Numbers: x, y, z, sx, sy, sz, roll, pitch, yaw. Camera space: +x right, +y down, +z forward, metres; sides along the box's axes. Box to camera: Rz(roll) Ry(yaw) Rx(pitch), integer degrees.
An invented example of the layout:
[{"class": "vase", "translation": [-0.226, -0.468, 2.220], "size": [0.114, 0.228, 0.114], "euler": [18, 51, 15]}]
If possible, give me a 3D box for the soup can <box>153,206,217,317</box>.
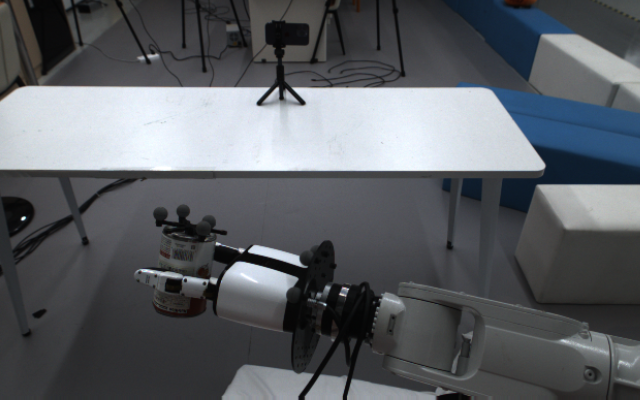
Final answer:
[{"class": "soup can", "translation": [-0.169, 0.090, 0.611], "size": [0.067, 0.101, 0.067], "euler": [10, 9, -2]}]
